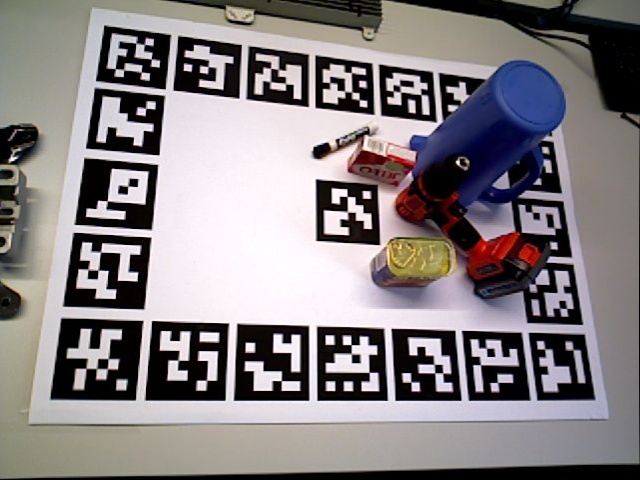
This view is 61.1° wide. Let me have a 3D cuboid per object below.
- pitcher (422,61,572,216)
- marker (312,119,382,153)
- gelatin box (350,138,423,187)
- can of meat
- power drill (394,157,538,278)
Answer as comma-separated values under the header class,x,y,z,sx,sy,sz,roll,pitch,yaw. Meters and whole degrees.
class,x,y,z,sx,sy,sz,roll,pitch,yaw
pitcher,0.258,-0.133,0.779,0.188,0.246,0.131,33,71,6
marker,0.041,-0.162,0.849,0.119,0.020,0.019,-23,80,-17
gelatin box,0.100,-0.114,0.822,0.089,0.074,0.030,15,73,-10
can of meat,0.130,0.040,0.772,0.101,0.085,0.057,3,70,-13
power drill,0.206,-0.031,0.761,0.187,0.187,0.056,39,70,-5
